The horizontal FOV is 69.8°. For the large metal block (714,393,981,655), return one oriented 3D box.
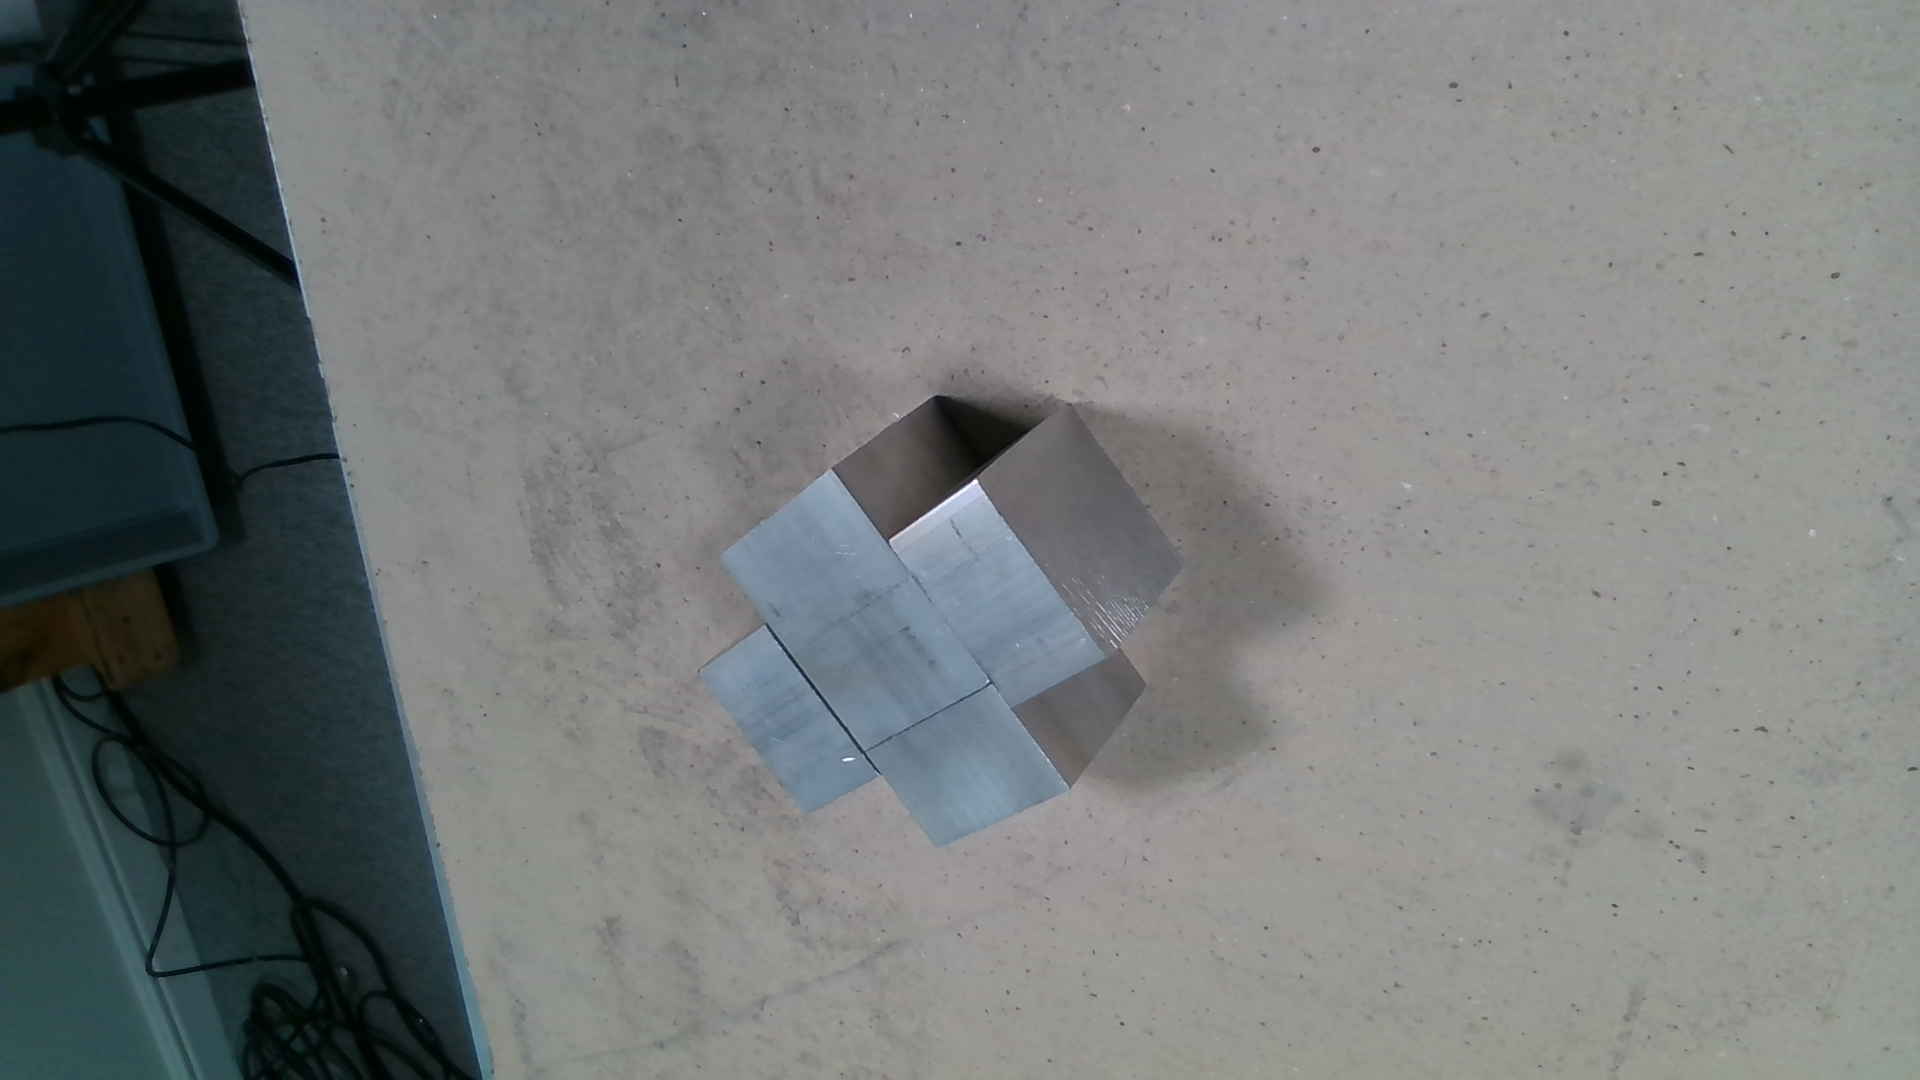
[{"bbox_3d":[-0.040,-0.007,0.566,0.080,0.080,0.050,-33,95,39],"label":"large metal block"}]

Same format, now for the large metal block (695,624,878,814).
[{"bbox_3d":[-0.055,0.060,0.612,0.050,0.080,0.080,-33,95,39],"label":"large metal block"}]

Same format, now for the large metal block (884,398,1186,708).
[{"bbox_3d":[0.031,0.004,0.528,0.050,0.080,0.080,-33,95,39],"label":"large metal block"}]

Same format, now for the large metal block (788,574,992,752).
[{"bbox_3d":[-0.010,0.034,0.570,0.080,0.080,0.050,-33,95,39],"label":"large metal block"}]

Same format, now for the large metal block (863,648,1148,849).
[{"bbox_3d":[0.020,0.074,0.574,0.080,0.080,0.050,-33,95,39],"label":"large metal block"}]
